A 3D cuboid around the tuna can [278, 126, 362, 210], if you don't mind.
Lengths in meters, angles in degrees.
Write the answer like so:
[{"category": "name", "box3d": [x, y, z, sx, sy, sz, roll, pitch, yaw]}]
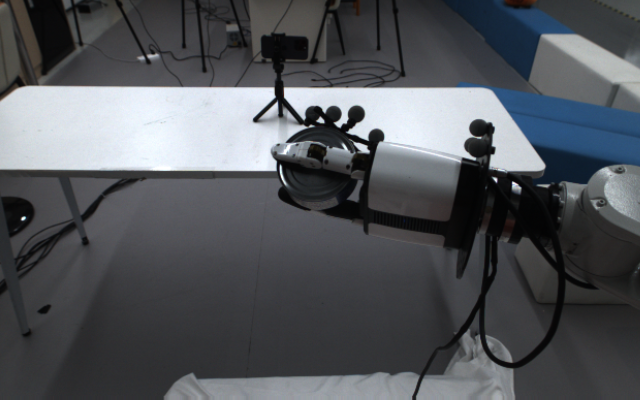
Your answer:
[{"category": "tuna can", "box3d": [0.001, -0.035, 0.522, 0.085, 0.034, 0.085, -4, 67, 10]}]
